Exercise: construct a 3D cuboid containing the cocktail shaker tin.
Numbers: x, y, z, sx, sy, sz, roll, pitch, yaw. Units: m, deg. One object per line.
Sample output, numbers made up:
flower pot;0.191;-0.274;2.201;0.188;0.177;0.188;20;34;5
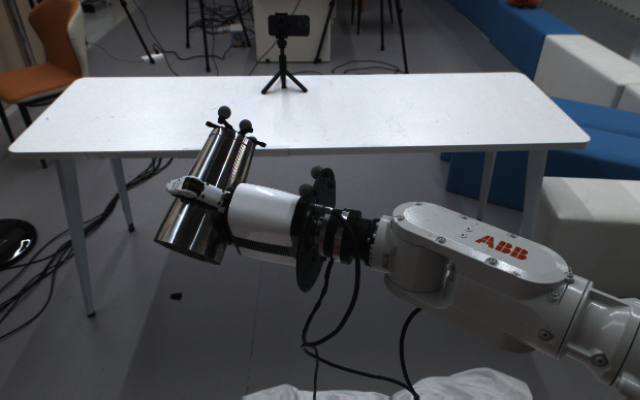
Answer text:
cocktail shaker tin;-0.147;-0.007;0.654;0.093;0.093;0.170;14;73;16
